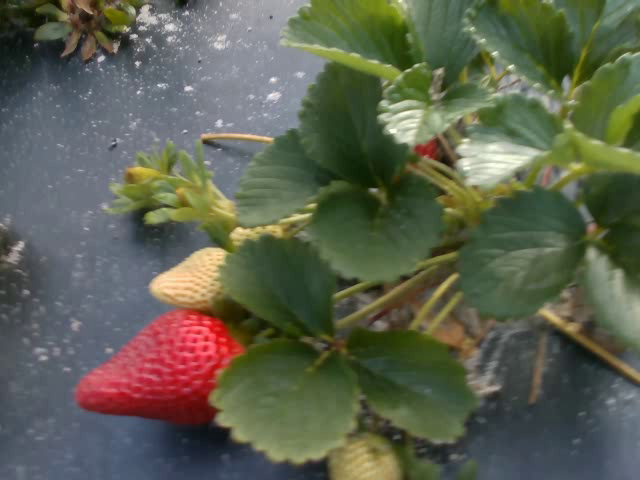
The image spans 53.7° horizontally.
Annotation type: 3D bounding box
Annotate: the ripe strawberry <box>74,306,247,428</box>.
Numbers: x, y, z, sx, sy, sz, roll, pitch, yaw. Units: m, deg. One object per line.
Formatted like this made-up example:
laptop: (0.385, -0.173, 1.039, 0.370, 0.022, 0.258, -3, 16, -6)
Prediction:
ripe strawberry: (-0.063, 0.047, 0.228, 0.055, 0.048, 0.051, -6, 9, -28)
